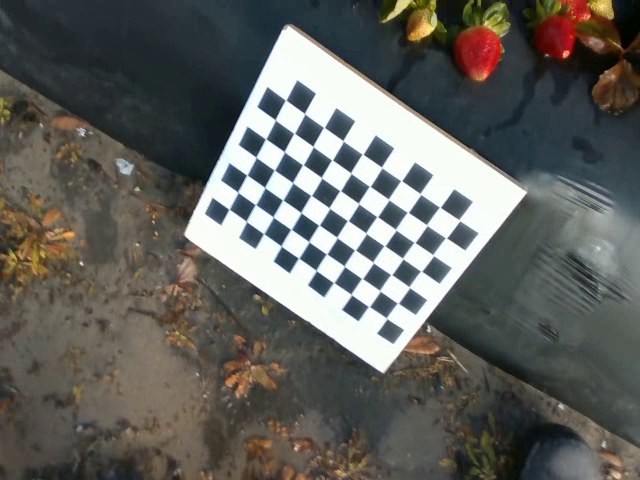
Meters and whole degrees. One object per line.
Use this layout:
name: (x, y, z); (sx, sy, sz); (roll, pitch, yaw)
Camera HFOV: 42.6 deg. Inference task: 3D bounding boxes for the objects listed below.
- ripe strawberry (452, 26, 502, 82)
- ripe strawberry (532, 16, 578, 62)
ripe strawberry: (0.173, -0.179, 0.849); (0.050, 0.065, 0.050); (-3, -37, 15)
ripe strawberry: (0.255, -0.197, 0.868); (0.044, 0.055, 0.041); (-27, -40, 20)
